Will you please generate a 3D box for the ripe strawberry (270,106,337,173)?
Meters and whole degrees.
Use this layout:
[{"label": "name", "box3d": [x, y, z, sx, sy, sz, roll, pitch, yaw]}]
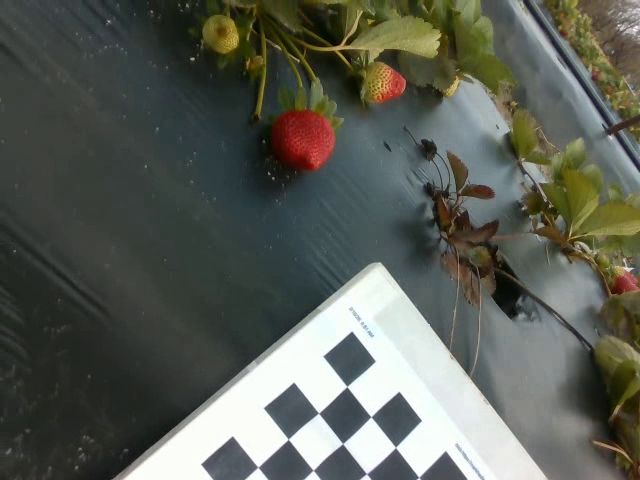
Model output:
[{"label": "ripe strawberry", "box3d": [-0.010, -0.059, 0.378, 0.045, 0.042, 0.055, 2, 22, -10]}]
